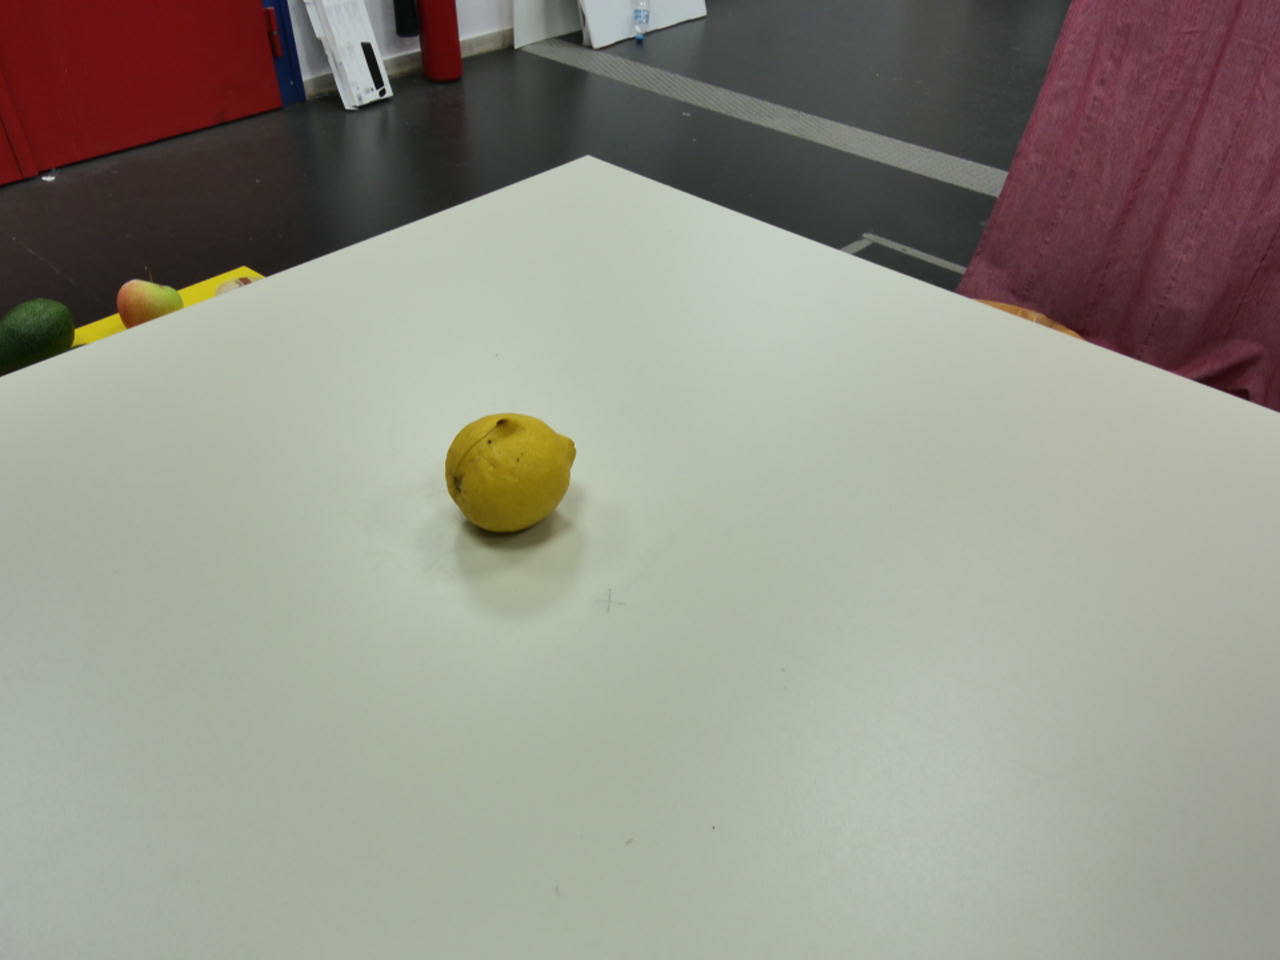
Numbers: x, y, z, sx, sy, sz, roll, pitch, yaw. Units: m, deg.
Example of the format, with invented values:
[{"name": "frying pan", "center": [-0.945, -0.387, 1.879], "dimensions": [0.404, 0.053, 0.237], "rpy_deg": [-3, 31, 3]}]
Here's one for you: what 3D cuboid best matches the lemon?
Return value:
[{"name": "lemon", "center": [-0.076, -0.007, 0.573], "dimensions": [0.071, 0.071, 0.070], "rpy_deg": [5, 38, 5]}]
